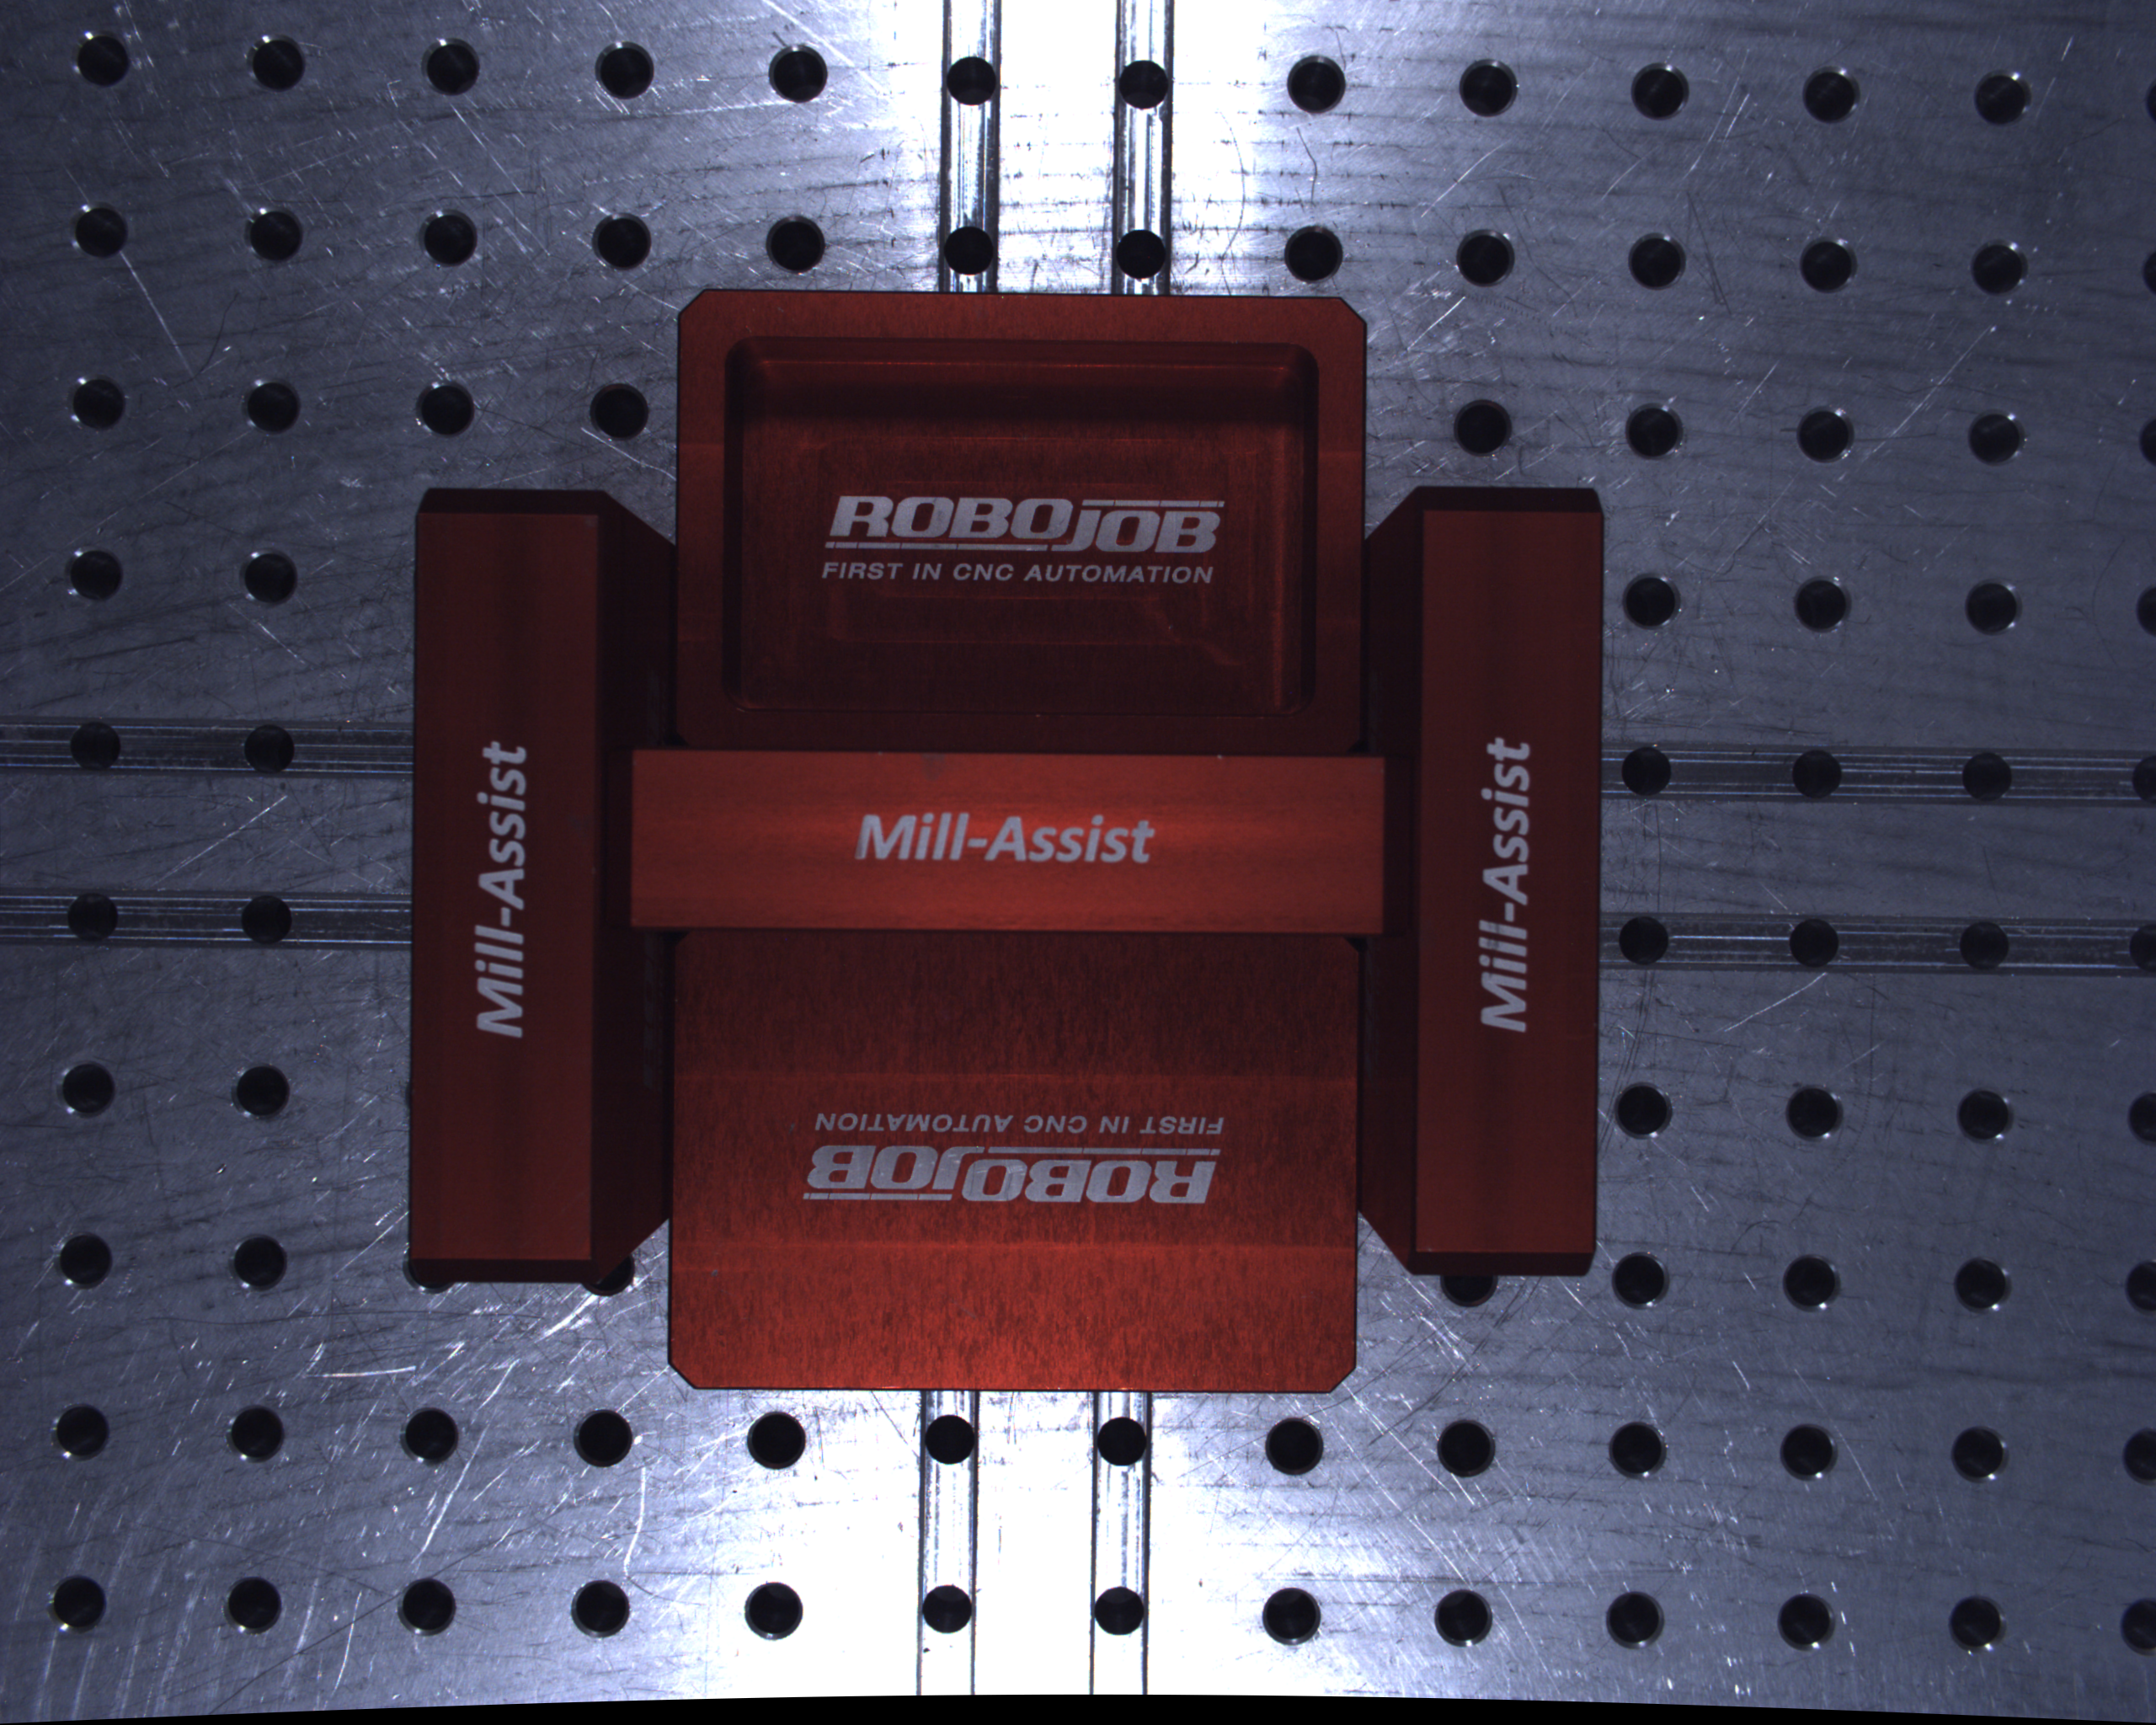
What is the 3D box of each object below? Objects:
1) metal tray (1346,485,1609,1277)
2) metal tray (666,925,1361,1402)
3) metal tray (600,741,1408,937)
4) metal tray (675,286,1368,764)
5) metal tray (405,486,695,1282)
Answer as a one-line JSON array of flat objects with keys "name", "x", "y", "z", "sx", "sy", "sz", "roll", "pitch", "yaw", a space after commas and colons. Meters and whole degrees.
[{"name": "metal tray", "x": 0.070, "y": 0.003, "z": 0.381, "sx": 0.030, "sy": 0.090, "sz": 0.129, "roll": 1, "pitch": 90, "yaw": 0}, {"name": "metal tray", "x": -0.012, "y": 0.057, "z": 0.409, "sx": 0.131, "sy": 0.030, "sz": 0.089, "roll": 1, "pitch": 90, "yaw": -1}, {"name": "metal tray", "x": -0.012, "y": -0.004, "z": 0.379, "sx": 0.131, "sy": 0.090, "sz": 0.030, "roll": 1, "pitch": 90, "yaw": -1}, {"name": "metal tray", "x": -0.011, "y": -0.064, "z": 0.410, "sx": 0.131, "sy": 0.030, "sz": 0.089, "roll": 1, "pitch": 90, "yaw": -1}, {"name": "metal tray", "x": -0.092, "y": 0.003, "z": 0.379, "sx": 0.030, "sy": 0.090, "sz": 0.129, "roll": 1, "pitch": 90, "yaw": 0}]
